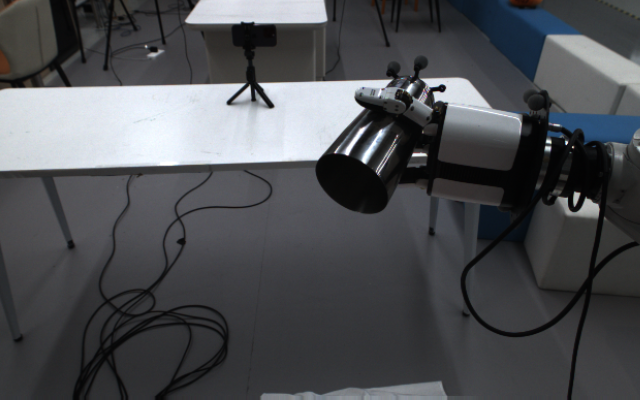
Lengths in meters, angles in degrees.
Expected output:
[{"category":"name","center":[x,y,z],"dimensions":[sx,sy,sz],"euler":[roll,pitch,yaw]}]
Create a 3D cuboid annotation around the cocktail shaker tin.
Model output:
[{"category":"cocktail shaker tin","center":[0.079,-0.080,0.581],"dimensions":[0.093,0.093,0.170],"euler":[19,55,22]}]
